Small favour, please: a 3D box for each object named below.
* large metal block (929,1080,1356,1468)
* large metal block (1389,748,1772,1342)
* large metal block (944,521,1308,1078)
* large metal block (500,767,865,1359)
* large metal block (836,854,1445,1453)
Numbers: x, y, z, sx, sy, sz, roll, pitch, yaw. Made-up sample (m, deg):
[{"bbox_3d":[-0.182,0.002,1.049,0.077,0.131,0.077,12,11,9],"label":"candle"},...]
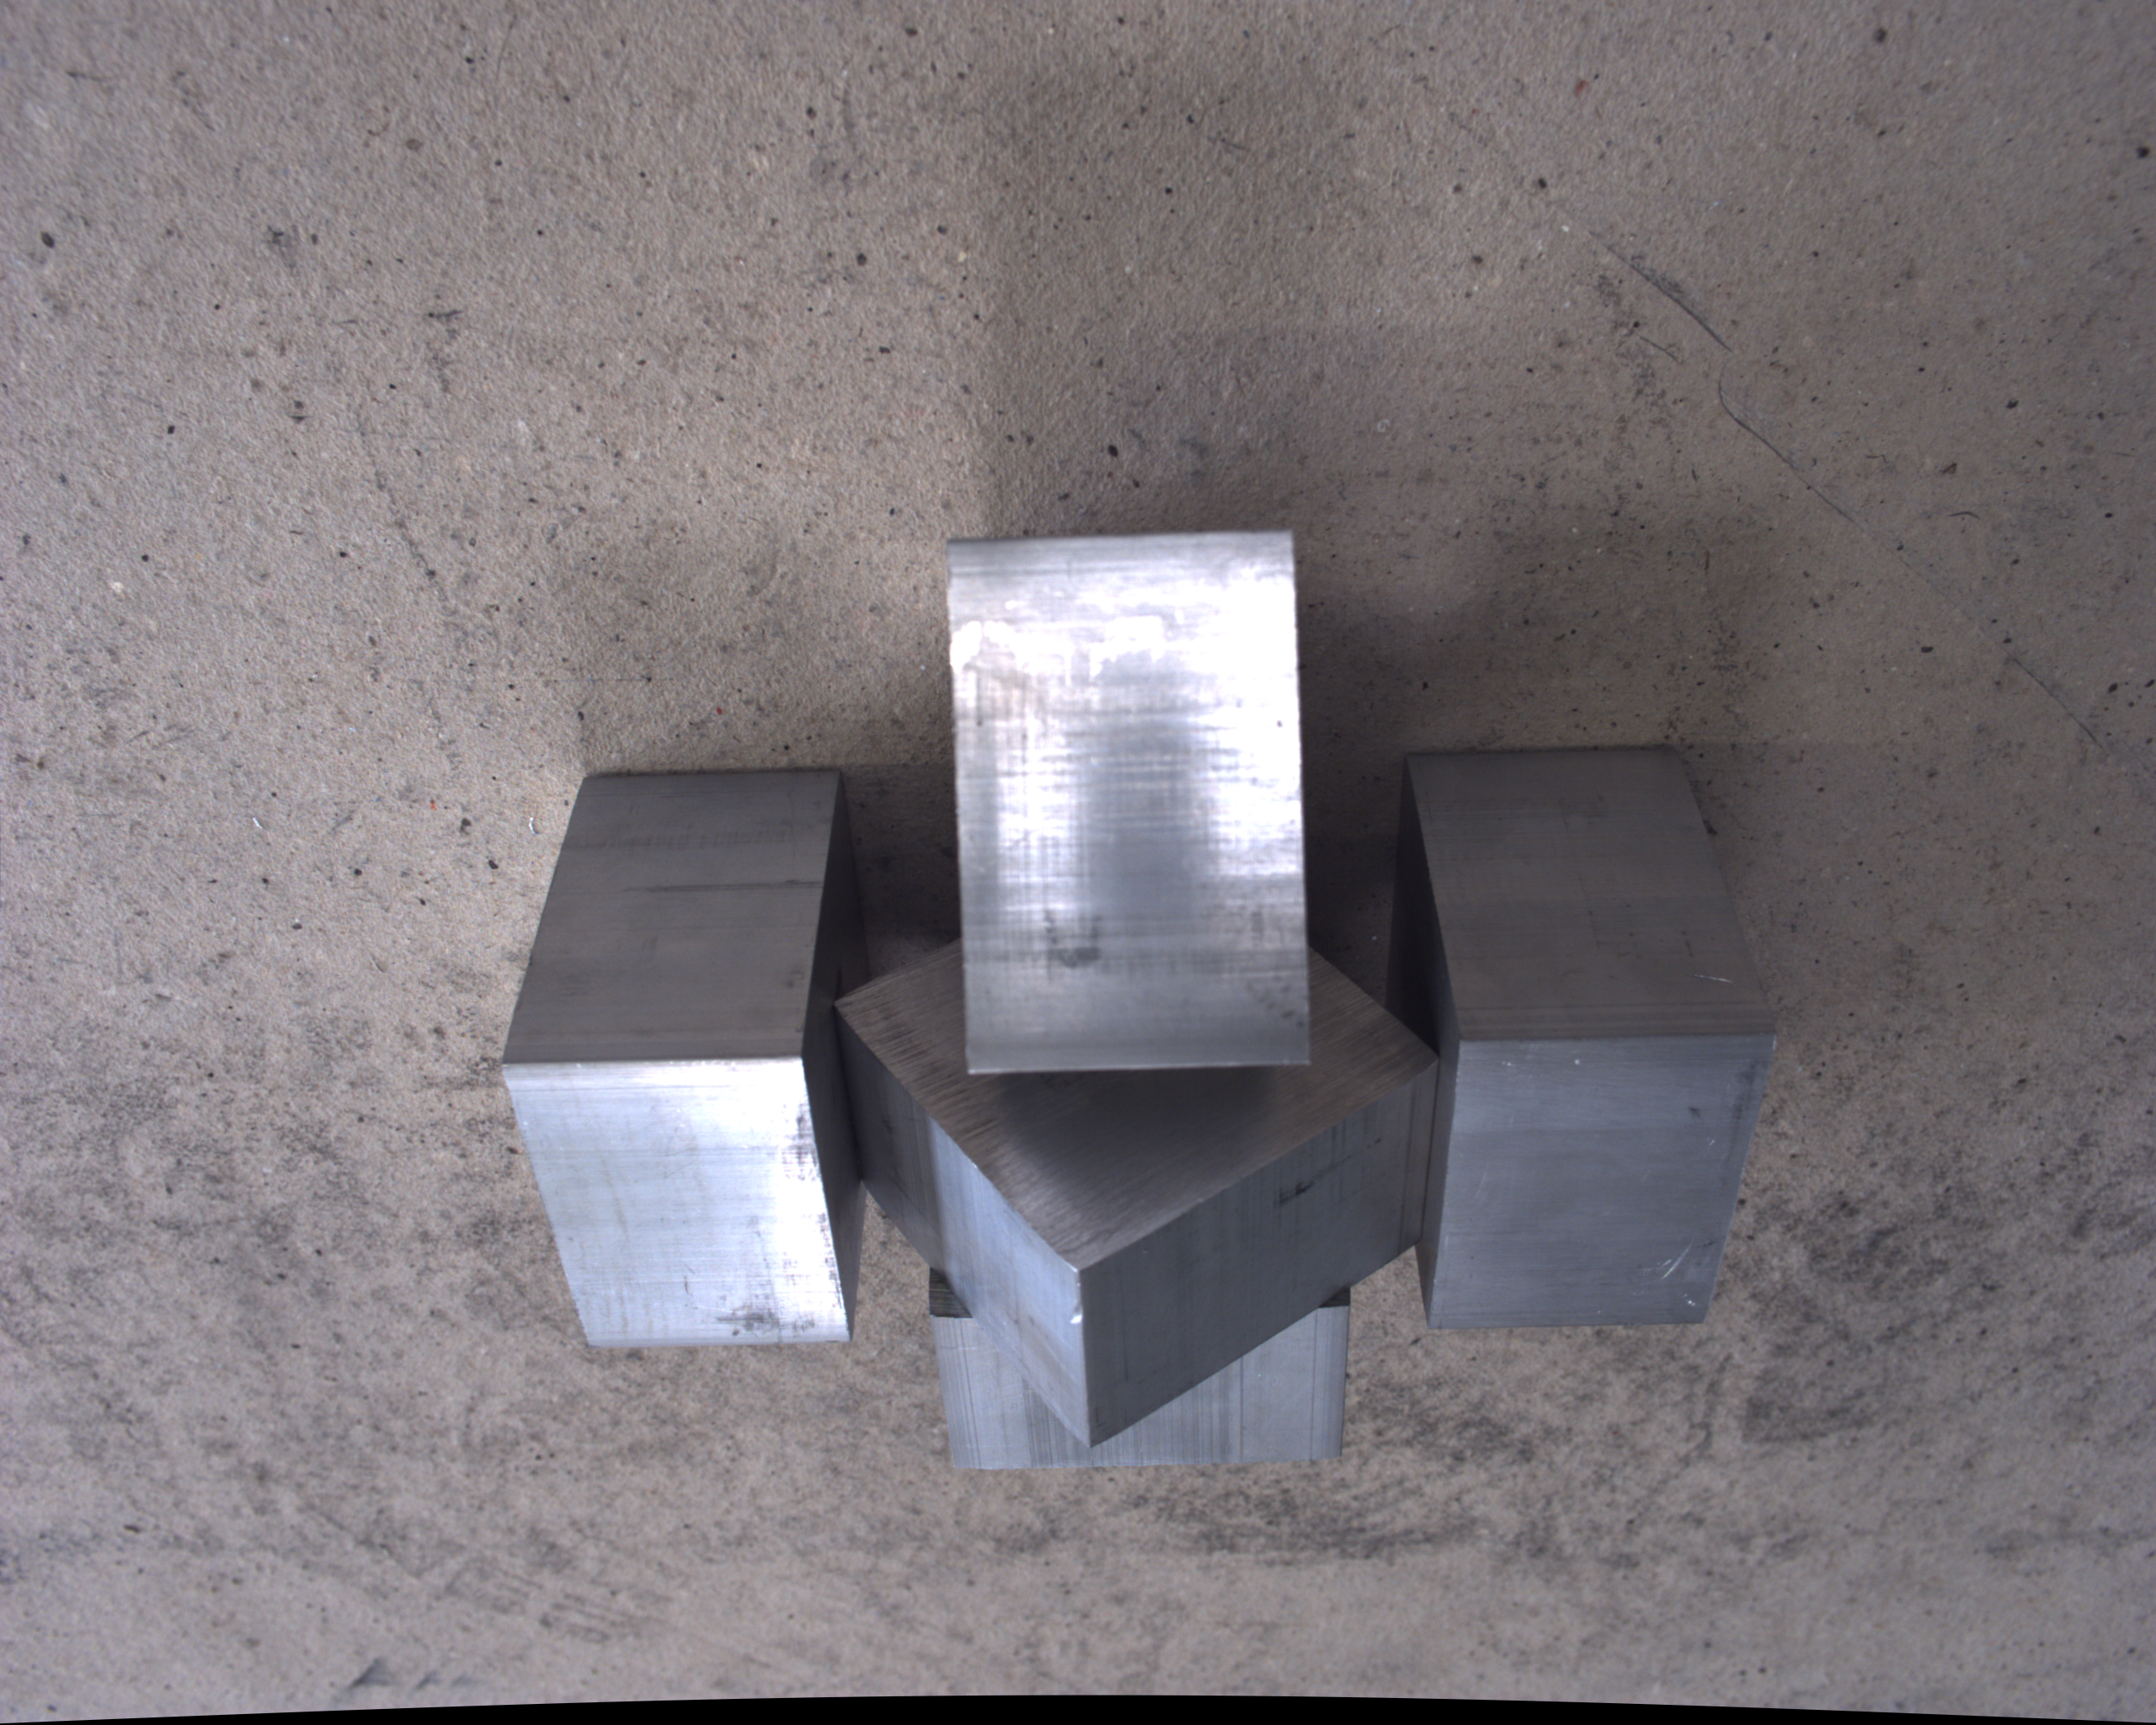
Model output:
[{"bbox_3d":[0.013,0.078,0.440,0.080,0.080,0.050,-2,130,1],"label":"large metal block"},{"bbox_3d":[0.091,0.034,0.402,0.050,0.080,0.079,-2,129,1],"label":"large metal block"},{"bbox_3d":[0.008,-0.011,0.344,0.050,0.080,0.079,-2,93,2],"label":"large metal block"},{"bbox_3d":[-0.070,0.038,0.403,0.050,0.080,0.079,-2,130,1],"label":"large metal block"},{"bbox_3d":[0.011,0.050,0.396,0.081,0.080,0.050,-26,135,-25],"label":"large metal block"}]
